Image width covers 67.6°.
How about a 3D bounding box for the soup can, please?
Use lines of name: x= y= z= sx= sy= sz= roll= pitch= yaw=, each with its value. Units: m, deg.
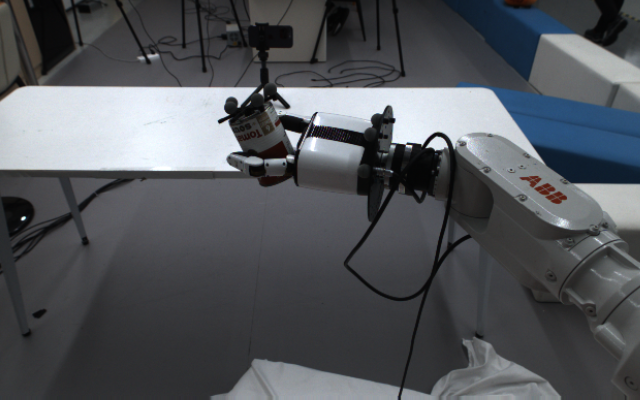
soup can: x=-0.075 y=-0.078 z=0.684 sx=0.067 sy=0.101 sz=0.067 roll=-21 pitch=24 yaw=10
